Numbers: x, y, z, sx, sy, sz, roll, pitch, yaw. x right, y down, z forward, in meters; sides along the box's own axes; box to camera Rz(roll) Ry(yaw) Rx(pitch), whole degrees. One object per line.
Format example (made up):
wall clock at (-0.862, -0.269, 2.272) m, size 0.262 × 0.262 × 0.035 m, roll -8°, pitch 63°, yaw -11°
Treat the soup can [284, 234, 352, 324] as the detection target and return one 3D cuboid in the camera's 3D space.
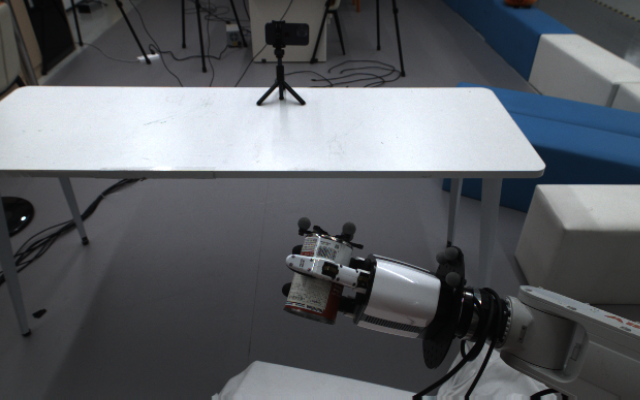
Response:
soup can at (0.002, 0.102, 0.625) m, size 0.067 × 0.067 × 0.101 m, roll 11°, pitch 72°, yaw 13°
